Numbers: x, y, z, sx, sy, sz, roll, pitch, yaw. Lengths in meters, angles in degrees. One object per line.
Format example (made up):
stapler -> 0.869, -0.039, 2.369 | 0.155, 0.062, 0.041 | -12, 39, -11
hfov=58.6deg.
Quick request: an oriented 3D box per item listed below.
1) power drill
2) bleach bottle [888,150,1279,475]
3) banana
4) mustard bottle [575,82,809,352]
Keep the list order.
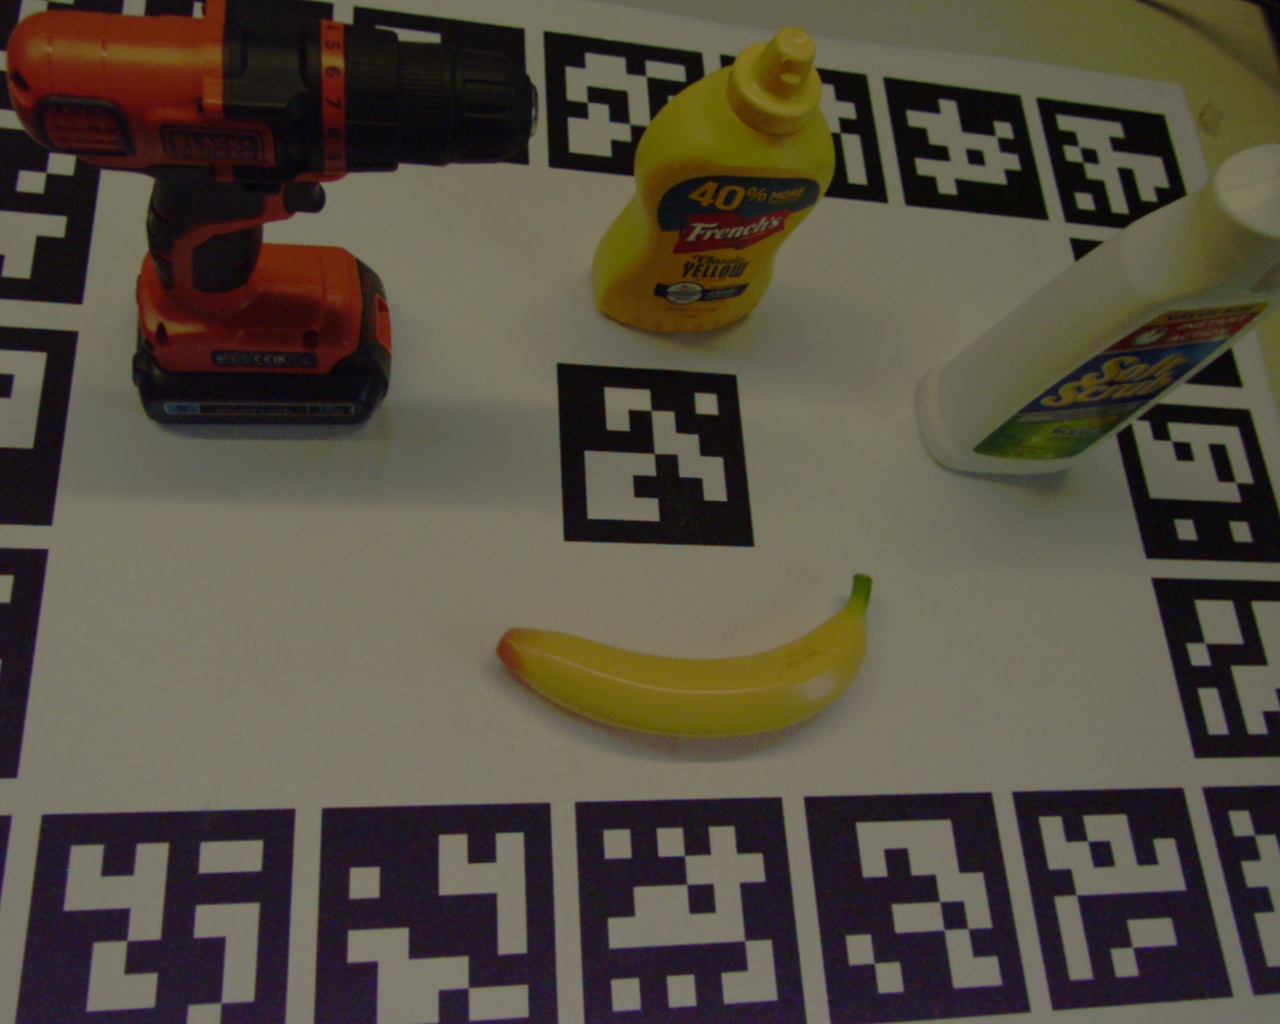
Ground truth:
power drill -> -0.138, -0.124, 0.503 | 0.183, 0.187, 0.057 | -5, 71, -13
bleach bottle -> 0.230, -0.097, 0.586 | 0.102, 0.252, 0.068 | 10, 67, -12
banana -> 0.027, 0.071, 0.575 | 0.196, 0.039, 0.074 | -4, 72, -13
mustard bottle -> 0.033, -0.152, 0.592 | 0.095, 0.192, 0.058 | -6, 71, -19
